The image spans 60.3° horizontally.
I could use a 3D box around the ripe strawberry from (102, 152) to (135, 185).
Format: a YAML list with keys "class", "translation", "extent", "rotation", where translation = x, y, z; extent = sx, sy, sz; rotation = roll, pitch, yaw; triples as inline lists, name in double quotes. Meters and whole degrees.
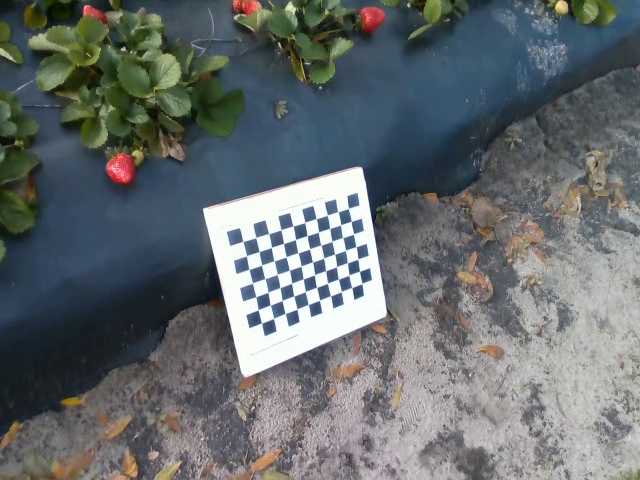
- class: "ripe strawberry"
  translation: [-0.287, -0.101, 0.803]
  extent: [0.045, 0.058, 0.051]
  rotation: [-15, -36, -29]
